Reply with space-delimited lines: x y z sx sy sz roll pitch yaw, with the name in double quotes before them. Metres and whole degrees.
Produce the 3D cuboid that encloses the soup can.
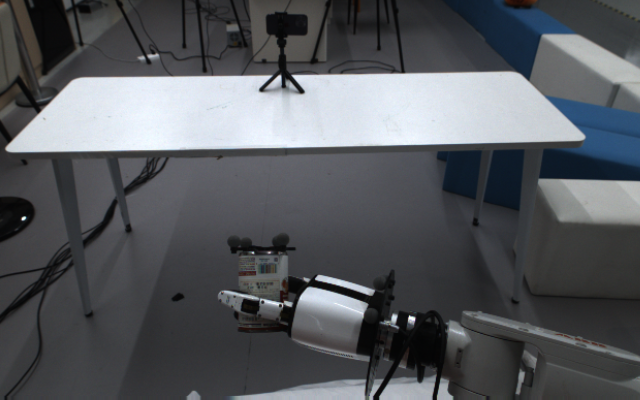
"soup can" -0.074 0.122 0.639 0.067 0.101 0.067 -1 -10 0
